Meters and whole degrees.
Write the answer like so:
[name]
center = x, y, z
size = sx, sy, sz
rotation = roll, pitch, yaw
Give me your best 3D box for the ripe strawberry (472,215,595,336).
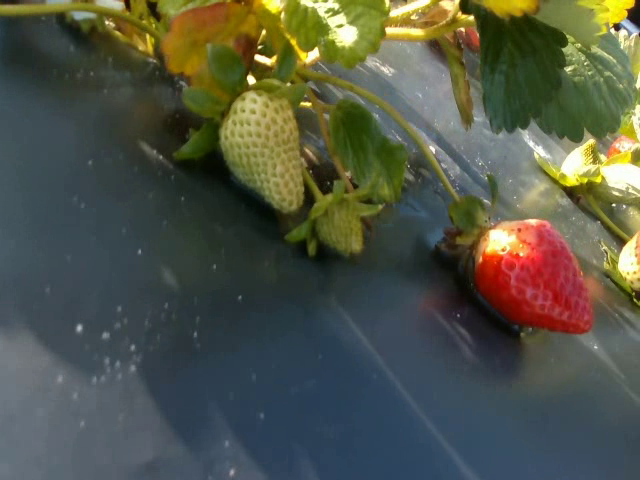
[ripe strawberry]
center = 0.062, 0.013, 0.169
size = 0.030, 0.045, 0.033
rotation = -34, -21, -15
